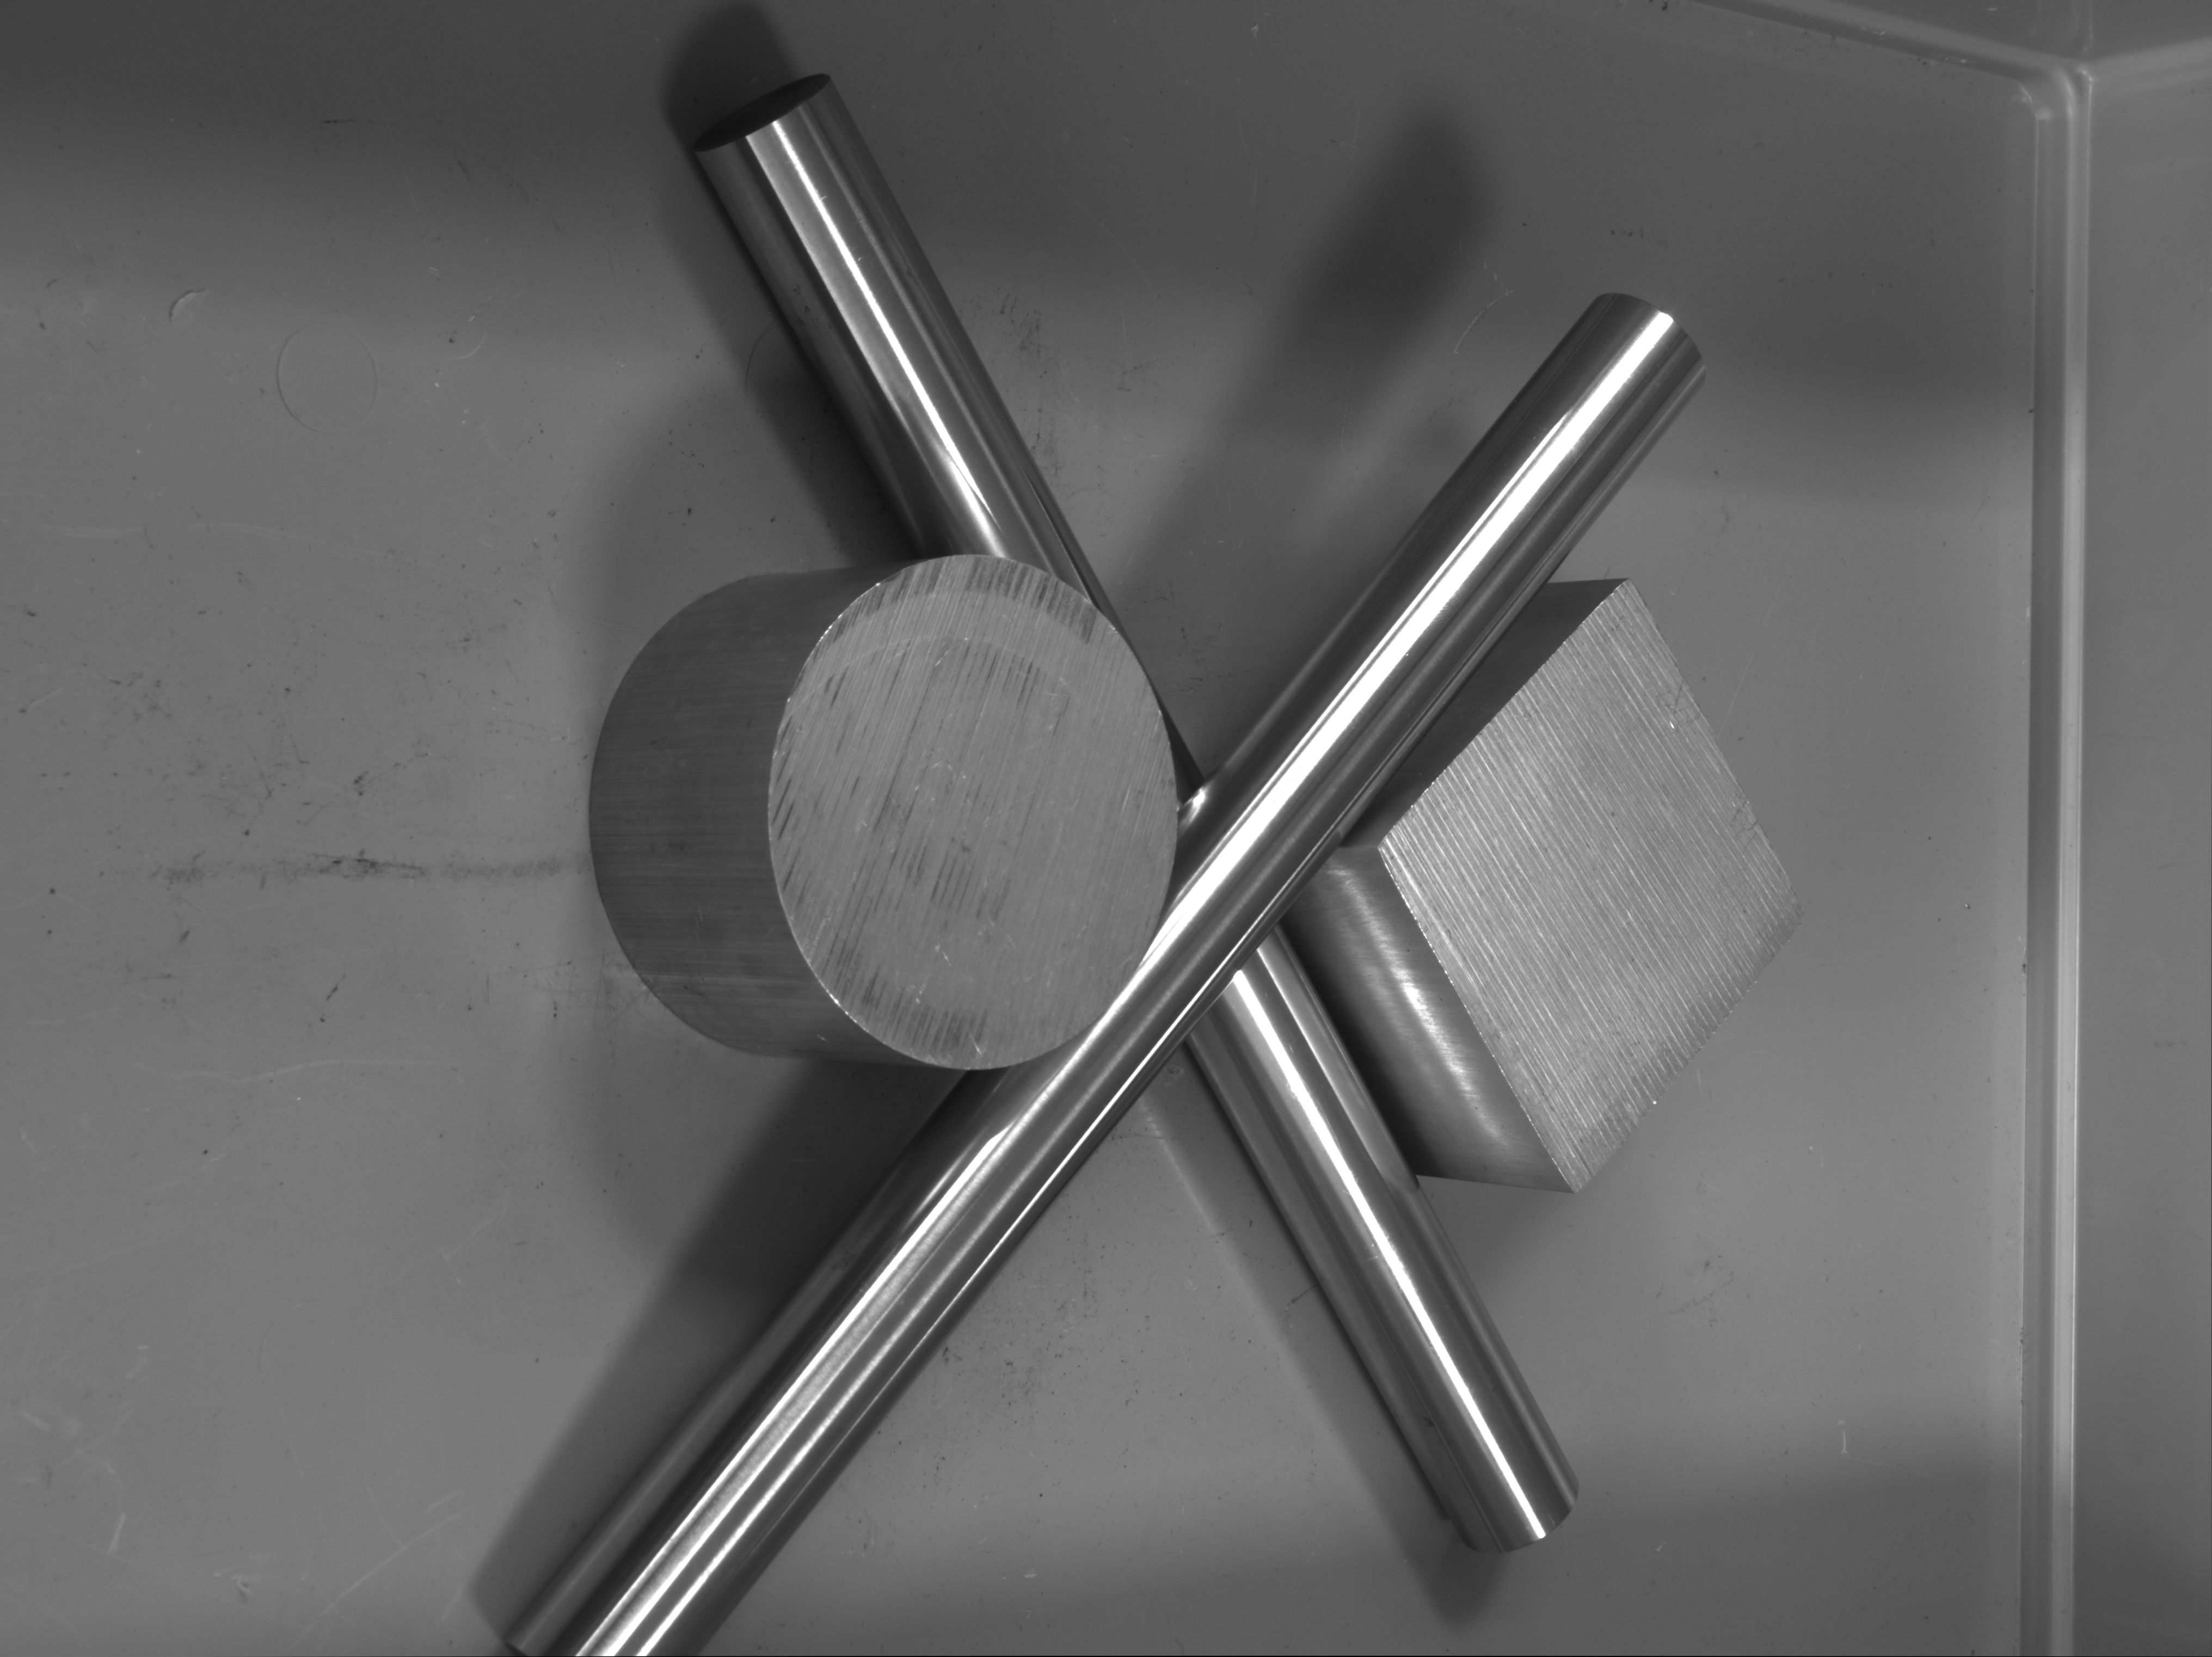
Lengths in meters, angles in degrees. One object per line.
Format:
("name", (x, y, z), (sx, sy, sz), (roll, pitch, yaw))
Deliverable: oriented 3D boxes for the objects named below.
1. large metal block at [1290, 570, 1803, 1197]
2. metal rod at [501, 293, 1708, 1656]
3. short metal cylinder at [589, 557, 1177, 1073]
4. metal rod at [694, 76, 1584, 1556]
("large metal block", (0.073, 0.009, 0.677), (0.080, 0.050, 0.080), (-46, 117, -30))
("metal rod", (0.007, 0.023, 0.613), (0.300, 0.025, 0.025), (-51, 120, -18))
("short metal cylinder", (-0.035, -0.002, 0.589), (0.080, 0.050, 0.080), (0, 90, -40))
("metal rod", (0.012, 0.008, 0.644), (0.025, 0.025, 0.300), (-43, 116, -31))
